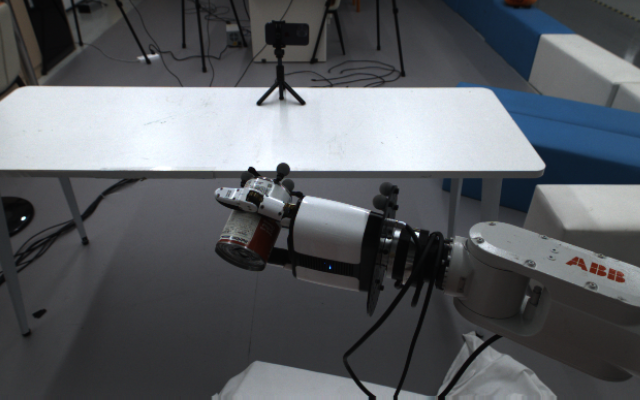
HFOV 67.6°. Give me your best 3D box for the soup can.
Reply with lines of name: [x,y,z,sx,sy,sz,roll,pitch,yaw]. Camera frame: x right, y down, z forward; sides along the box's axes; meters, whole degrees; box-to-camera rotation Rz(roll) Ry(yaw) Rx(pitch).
soup can: [-0.083,0.028,0.613,0.067,0.067,0.101,12,59,14]
